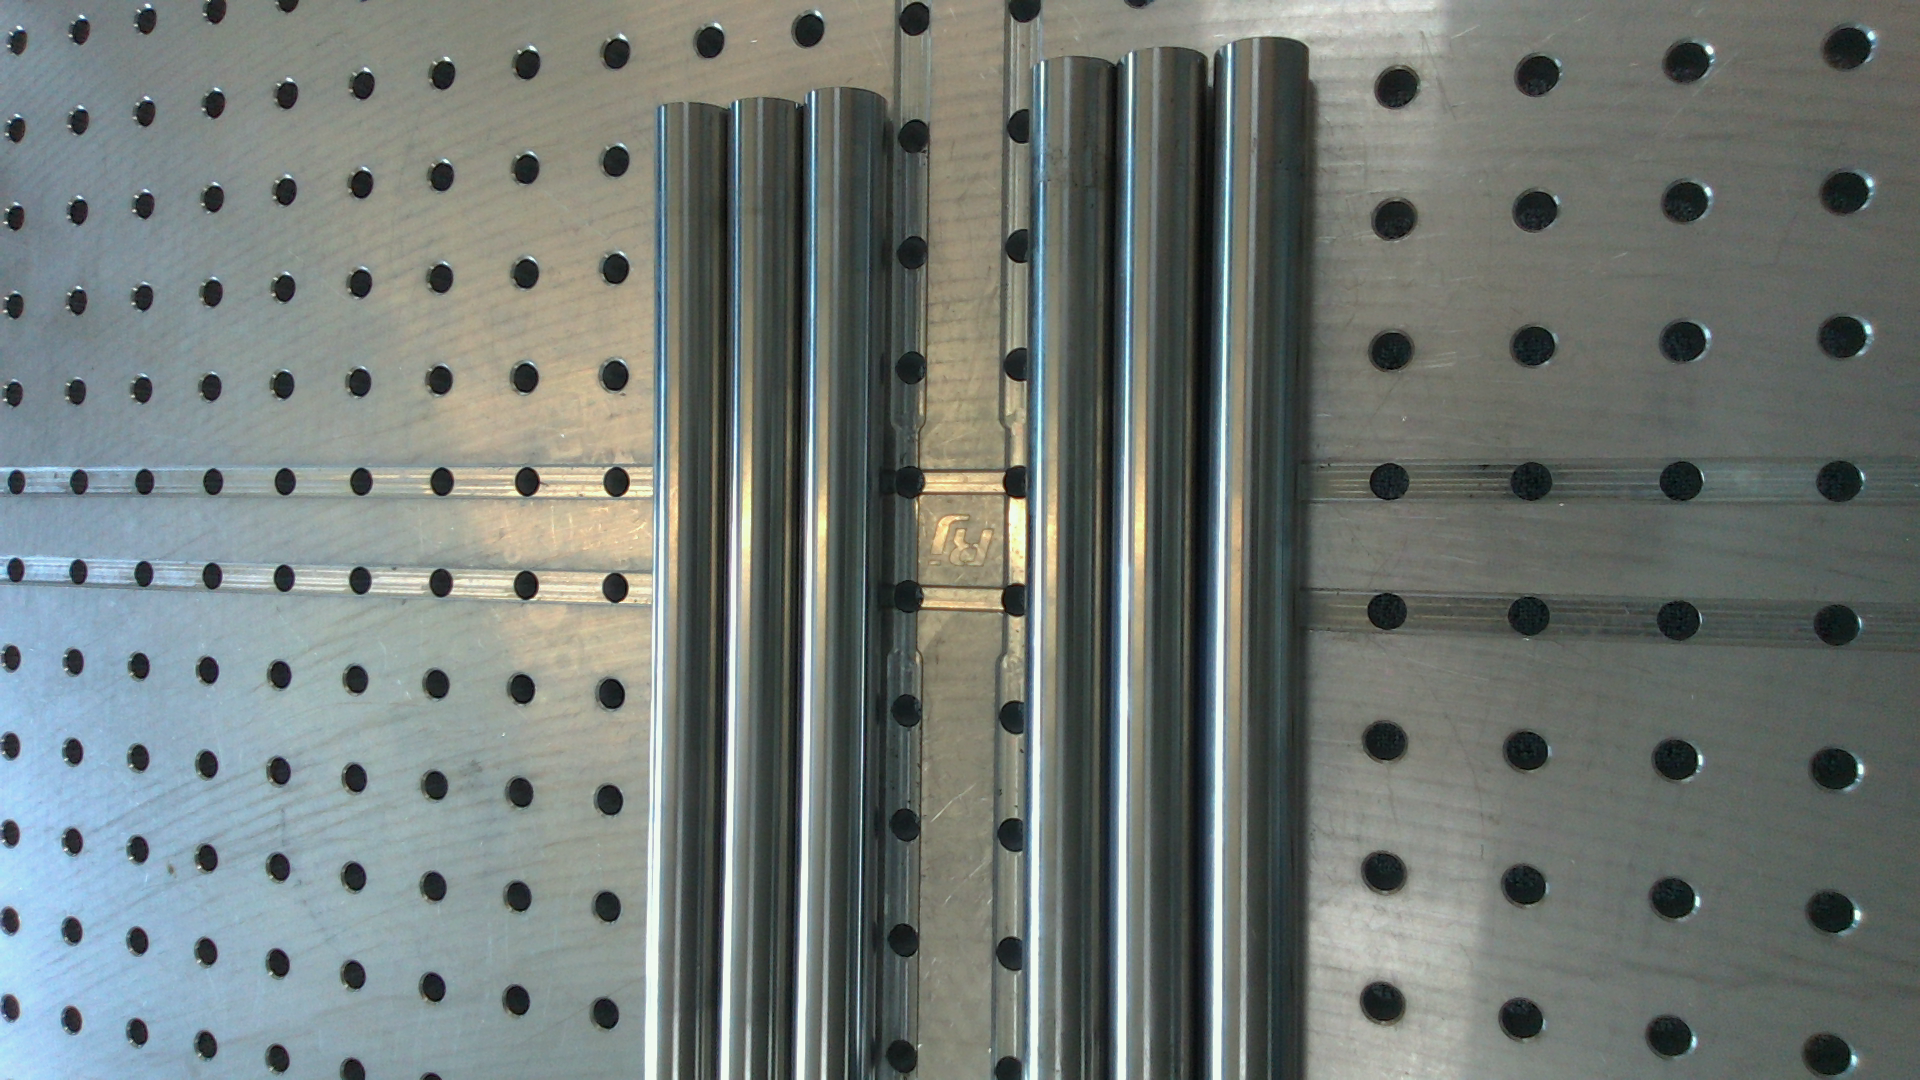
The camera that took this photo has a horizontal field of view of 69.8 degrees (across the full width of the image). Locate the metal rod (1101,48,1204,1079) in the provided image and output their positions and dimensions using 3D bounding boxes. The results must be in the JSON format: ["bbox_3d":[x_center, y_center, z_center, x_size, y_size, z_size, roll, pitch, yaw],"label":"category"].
[{"bbox_3d":[0.053,0.019,0.379,0.025,0.025,0.300,1,90,20],"label":"metal rod"}]

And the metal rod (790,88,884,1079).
[{"bbox_3d":[-0.037,0.019,0.411,0.025,0.025,0.300,1,90,20],"label":"metal rod"}]

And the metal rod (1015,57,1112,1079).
[{"bbox_3d":[0.029,0.019,0.387,0.025,0.025,0.300,1,90,20],"label":"metal rod"}]

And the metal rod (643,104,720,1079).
[{"bbox_3d":[-0.084,0.018,0.428,0.025,0.025,0.300,1,90,20],"label":"metal rod"}]

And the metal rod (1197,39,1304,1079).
[{"bbox_3d":[0.078,0.020,0.370,0.025,0.025,0.300,1,90,20],"label":"metal rod"}]

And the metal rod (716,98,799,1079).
[{"bbox_3d":[-0.060,0.019,0.420,0.025,0.025,0.300,1,90,20],"label":"metal rod"}]
